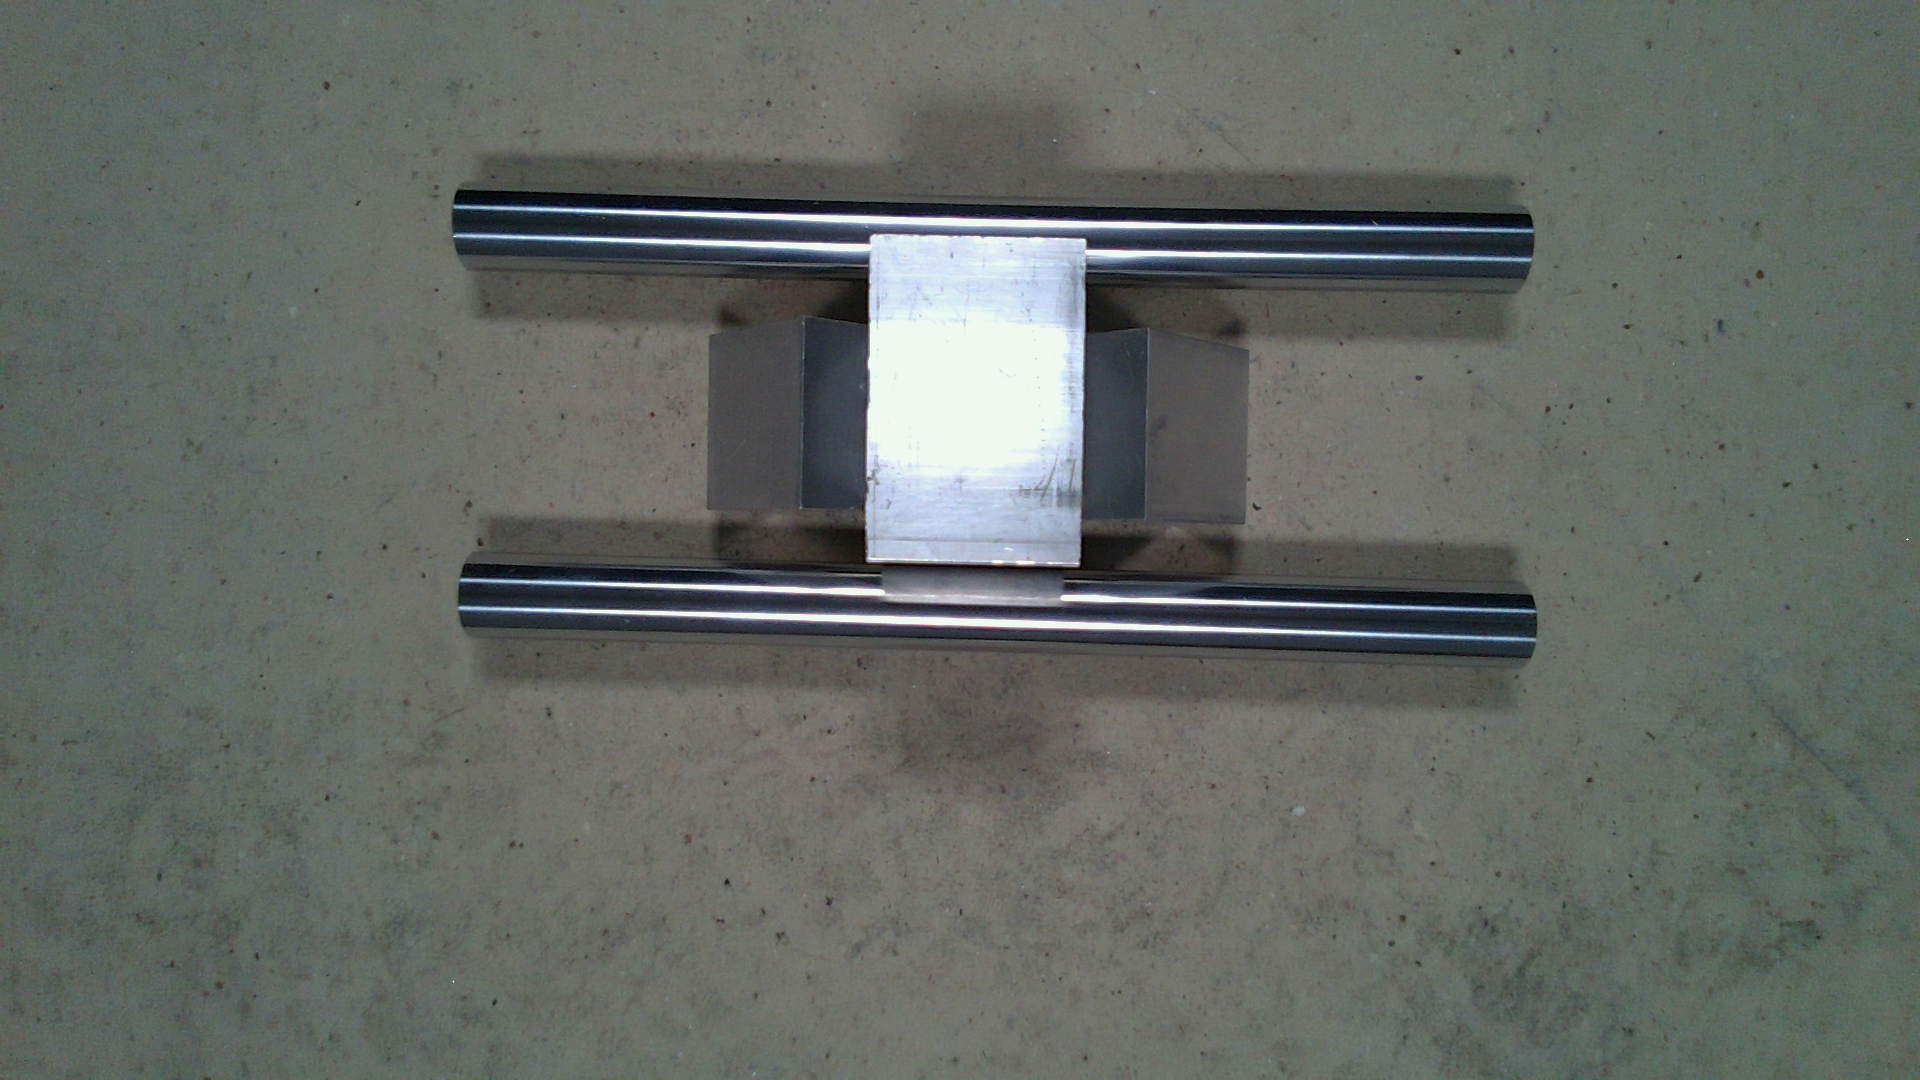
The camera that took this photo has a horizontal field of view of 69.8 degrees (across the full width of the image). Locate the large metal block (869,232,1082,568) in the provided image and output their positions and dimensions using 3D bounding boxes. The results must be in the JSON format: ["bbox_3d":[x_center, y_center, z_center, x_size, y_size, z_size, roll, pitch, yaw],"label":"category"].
[{"bbox_3d":[0.004,-0.034,0.370,0.050,0.080,0.080,1,90,0],"label":"large metal block"}]

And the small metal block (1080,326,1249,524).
[{"bbox_3d":[0.056,-0.030,0.382,0.025,0.050,0.050,0,90,42],"label":"small metal block"}]

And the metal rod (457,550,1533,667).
[{"bbox_3d":[0.010,0.020,0.395,0.300,0.025,0.025,2,90,0],"label":"metal rod"}]

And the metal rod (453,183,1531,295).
[{"bbox_3d":[0.009,-0.086,0.395,0.300,0.025,0.025,1,90,0],"label":"metal rod"}]

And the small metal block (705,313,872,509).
[{"bbox_3d":[-0.047,-0.034,0.381,0.025,0.050,0.050,0,91,-39],"label":"small metal block"}]
